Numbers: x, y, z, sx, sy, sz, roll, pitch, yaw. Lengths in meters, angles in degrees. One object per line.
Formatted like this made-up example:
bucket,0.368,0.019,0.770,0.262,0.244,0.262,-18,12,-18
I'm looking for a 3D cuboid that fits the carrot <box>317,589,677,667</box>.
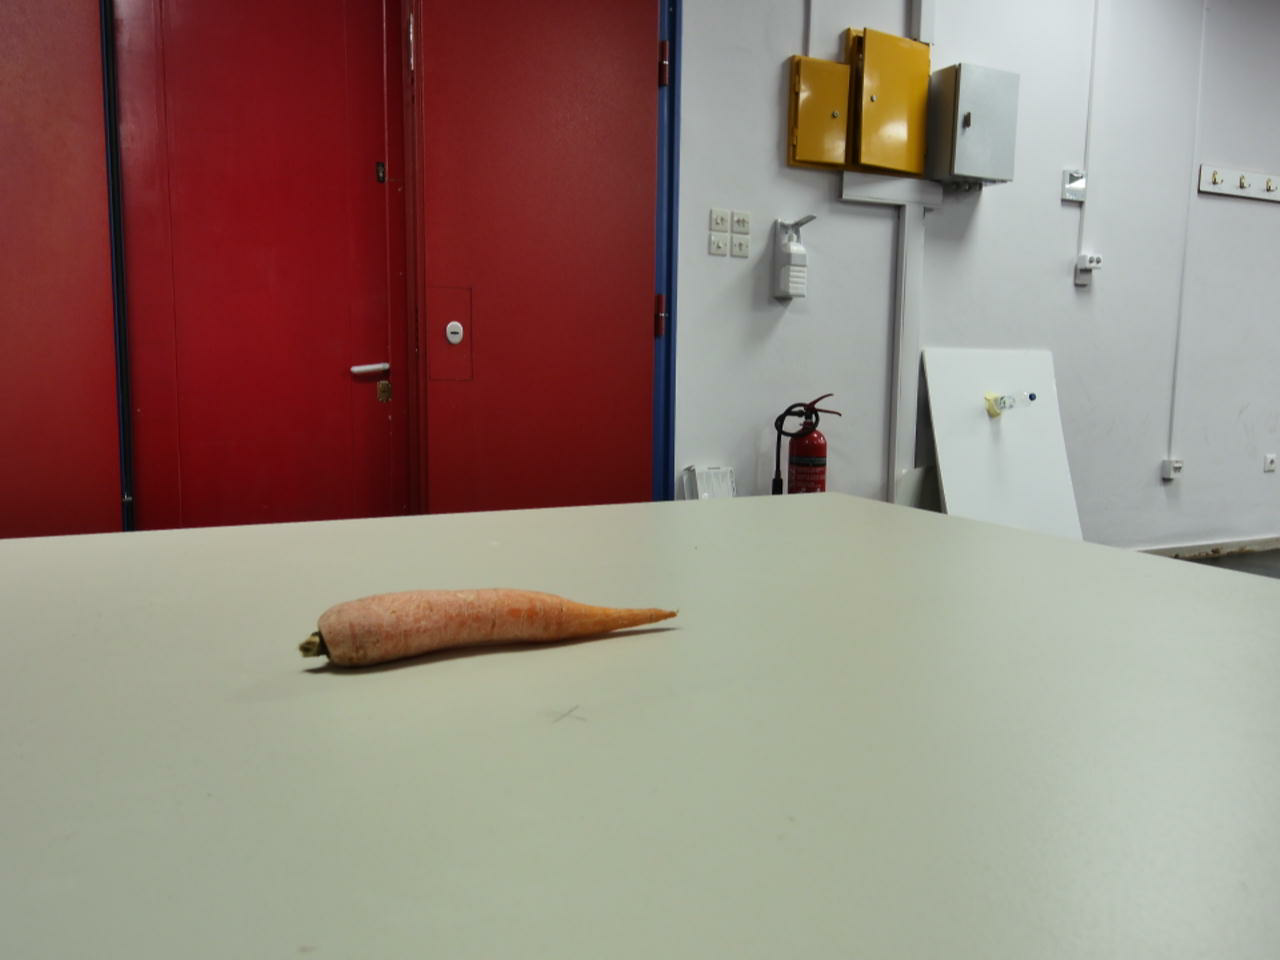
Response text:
carrot,-0.062,0.060,0.439,0.163,0.029,0.031,-2,5,-26
